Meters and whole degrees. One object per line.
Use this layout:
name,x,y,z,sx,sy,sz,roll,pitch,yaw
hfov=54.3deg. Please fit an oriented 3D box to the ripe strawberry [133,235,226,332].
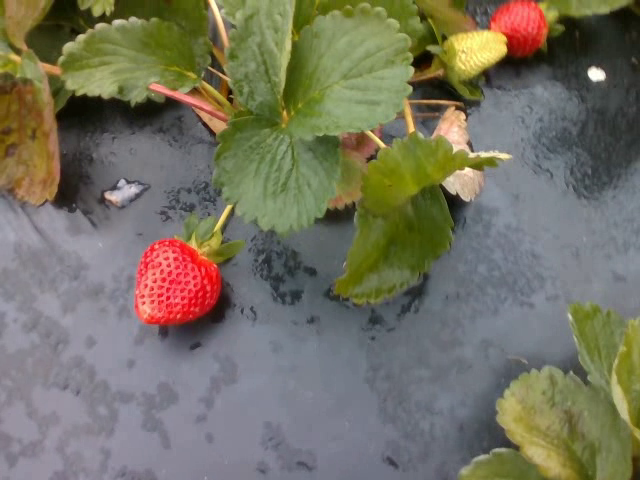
ripe strawberry,-0.073,0.024,0.305,0.045,0.048,0.054,12,40,25
